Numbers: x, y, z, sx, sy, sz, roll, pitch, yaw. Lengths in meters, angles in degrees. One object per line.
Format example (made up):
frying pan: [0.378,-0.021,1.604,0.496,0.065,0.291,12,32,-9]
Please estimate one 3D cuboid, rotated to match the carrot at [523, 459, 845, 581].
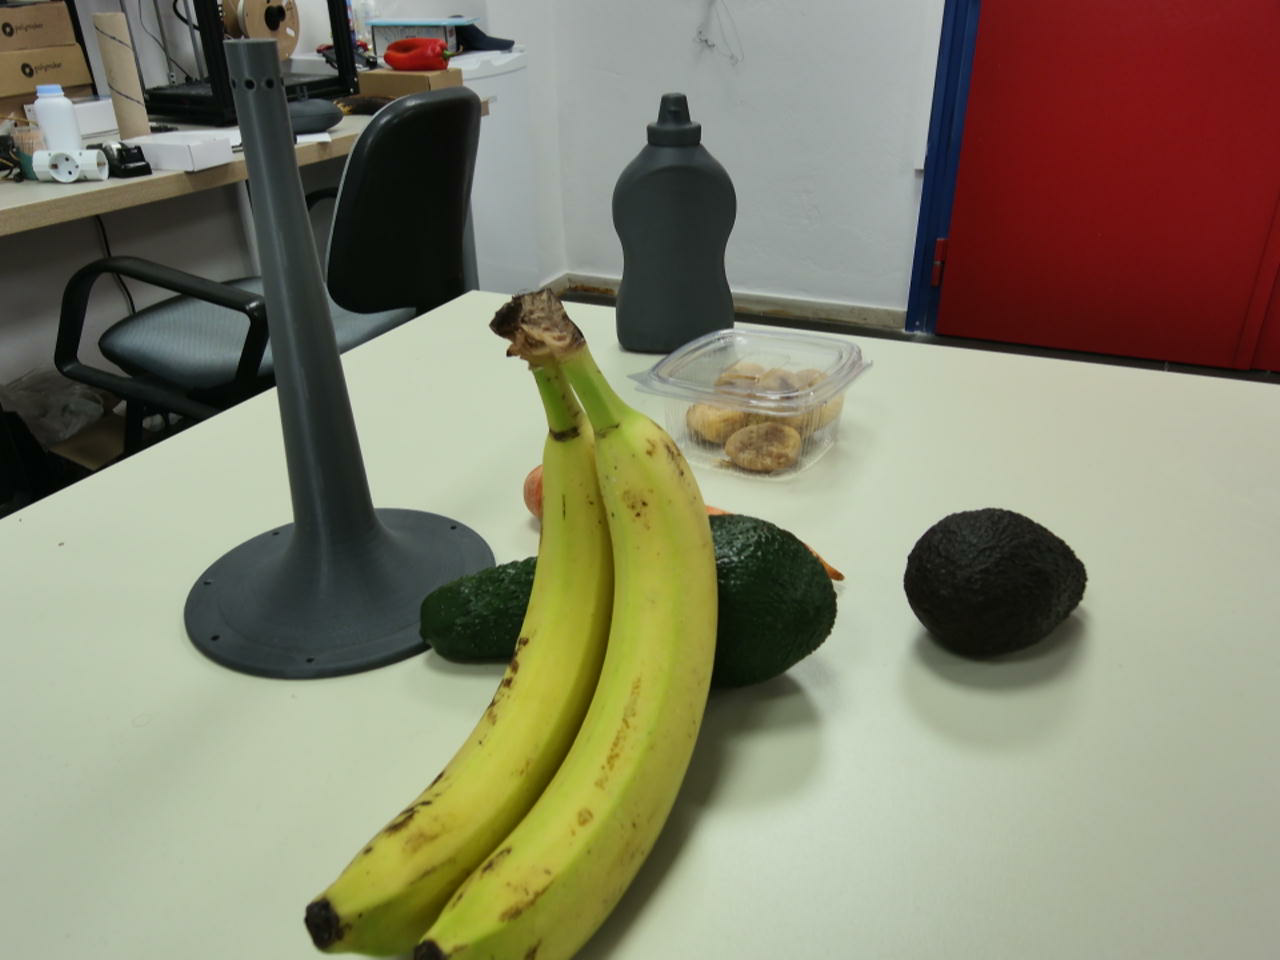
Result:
carrot: [0.022,0.022,0.569,0.196,0.041,0.039,11,27,22]
